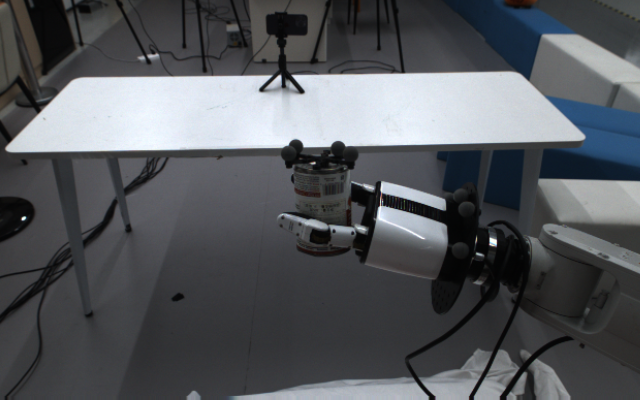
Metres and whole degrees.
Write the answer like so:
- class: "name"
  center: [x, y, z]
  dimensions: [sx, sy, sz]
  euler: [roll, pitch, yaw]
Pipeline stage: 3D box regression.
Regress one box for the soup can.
- class: "soup can"
  center: [0.006, 0.007, 0.565]
  dimensions: [0.067, 0.101, 0.067]
  euler: [-2, 17, 0]
